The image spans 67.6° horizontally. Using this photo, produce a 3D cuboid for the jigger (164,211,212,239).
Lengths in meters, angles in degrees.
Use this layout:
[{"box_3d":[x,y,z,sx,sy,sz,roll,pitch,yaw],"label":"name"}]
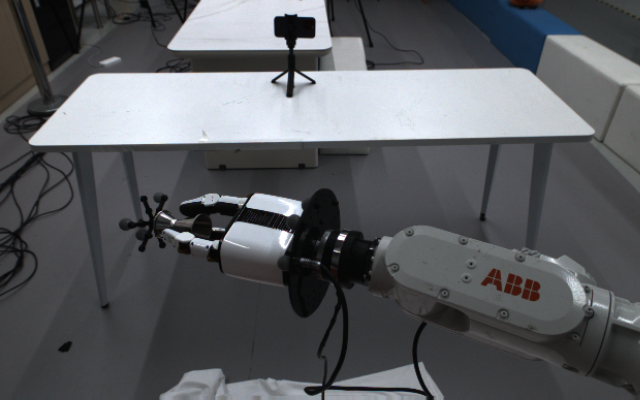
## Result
[{"box_3d":[-0.181,0.031,0.665,0.071,0.043,0.043,5,33,24],"label":"jigger"}]
